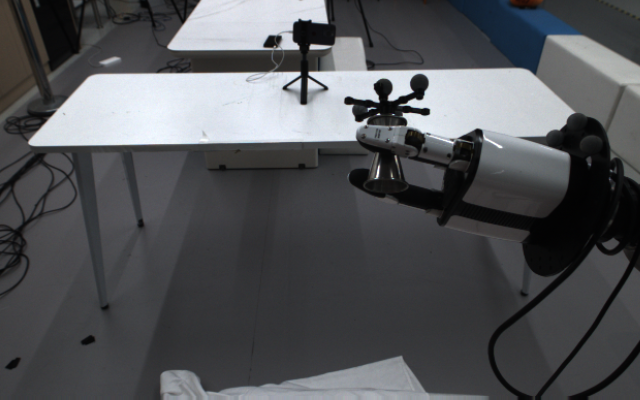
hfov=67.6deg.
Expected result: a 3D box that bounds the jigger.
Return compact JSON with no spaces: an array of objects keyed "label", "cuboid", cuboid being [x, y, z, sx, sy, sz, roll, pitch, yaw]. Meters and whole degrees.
[{"label":"jigger","cuboid":[0.065,-0.046,0.481,0.043,0.043,0.071,3,75,1]}]
